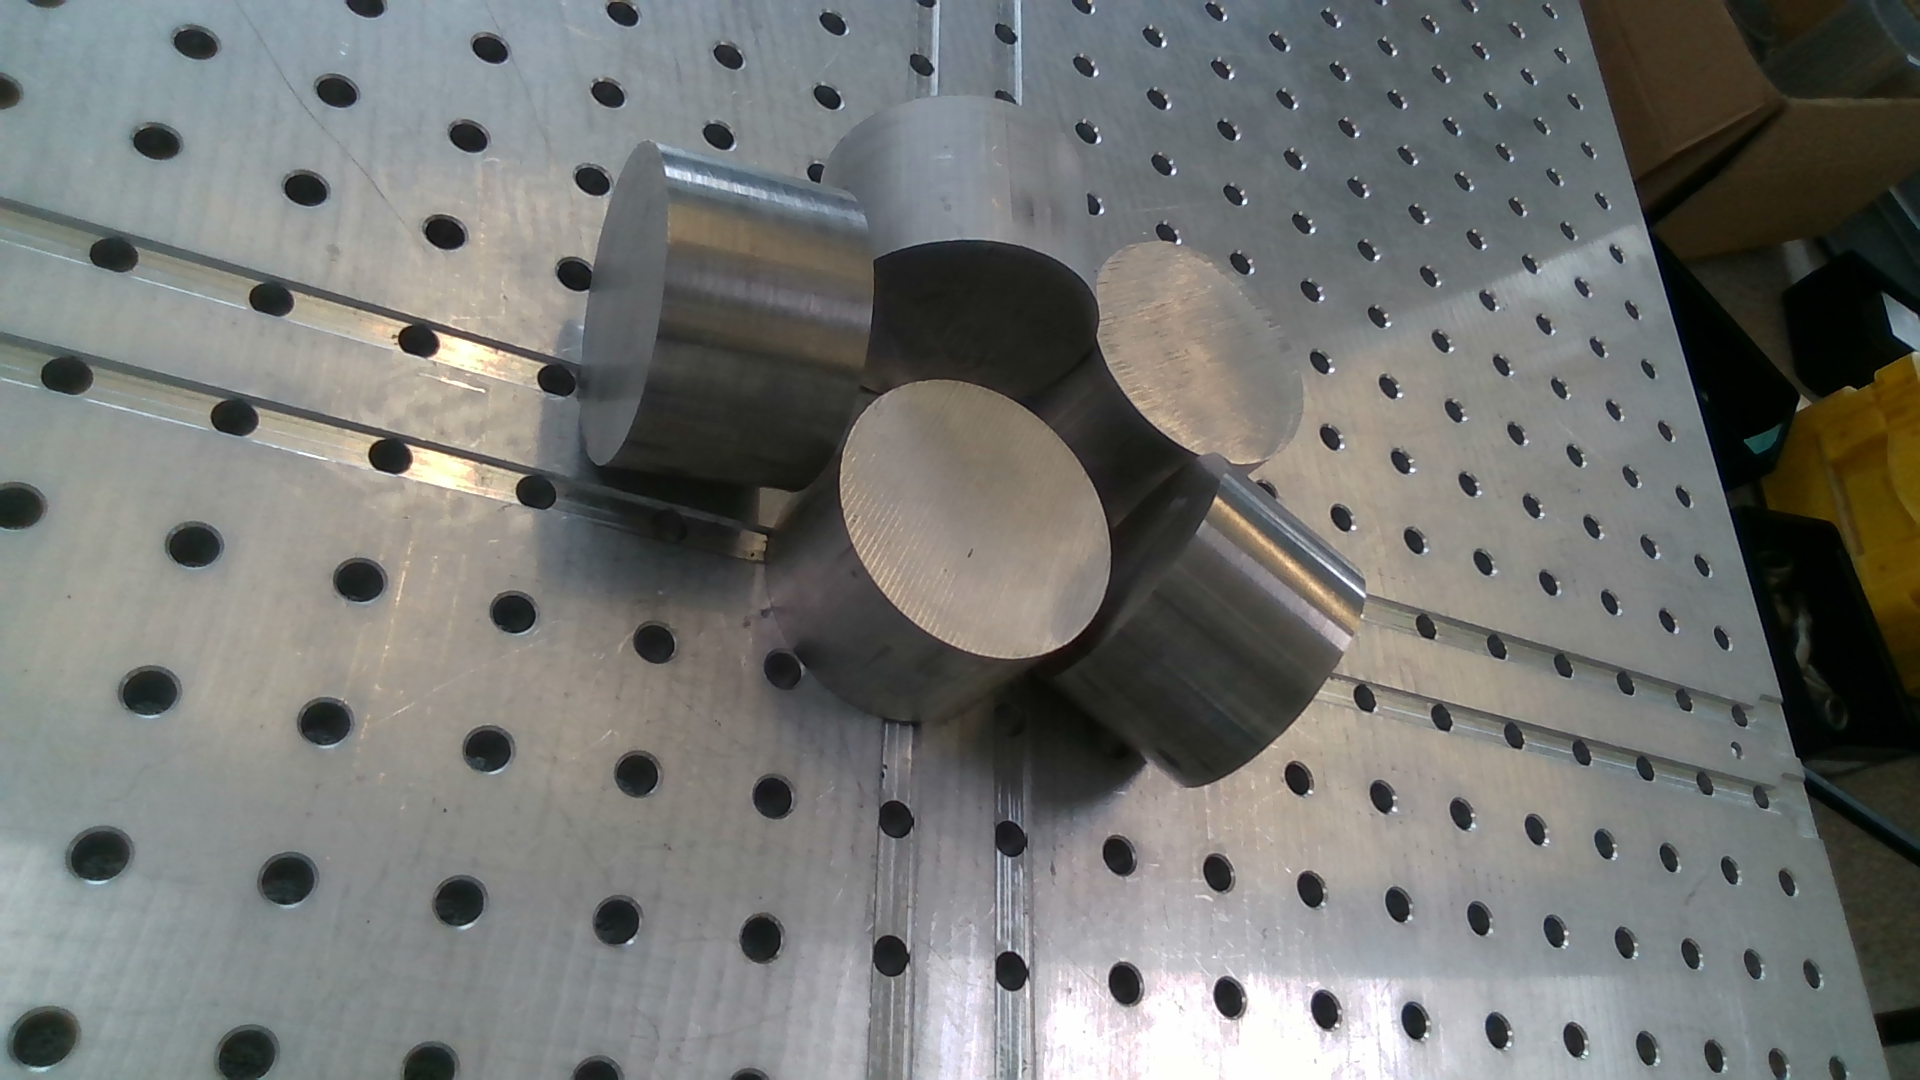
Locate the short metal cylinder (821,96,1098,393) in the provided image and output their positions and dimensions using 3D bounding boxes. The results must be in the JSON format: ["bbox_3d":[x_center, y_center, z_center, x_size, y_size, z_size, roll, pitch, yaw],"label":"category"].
[{"bbox_3d":[-0.001,-0.082,0.405,0.080,0.080,0.050,12,60,-26],"label":"short metal cylinder"}]

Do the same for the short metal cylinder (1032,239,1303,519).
[{"bbox_3d":[0.063,-0.049,0.444,0.080,0.050,0.080,15,57,-24],"label":"short metal cylinder"}]

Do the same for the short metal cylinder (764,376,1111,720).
[{"bbox_3d":[-0.006,0.003,0.374,0.080,0.050,0.080,14,59,-25],"label":"short metal cylinder"}]

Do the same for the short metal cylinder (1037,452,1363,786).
[{"bbox_3d":[0.066,0.022,0.389,0.050,0.080,0.080,39,51,-9],"label":"short metal cylinder"}]

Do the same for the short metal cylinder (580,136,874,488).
[{"bbox_3d":[-0.062,-0.056,0.352,0.050,0.080,0.080,8,62,-28],"label":"short metal cylinder"}]
